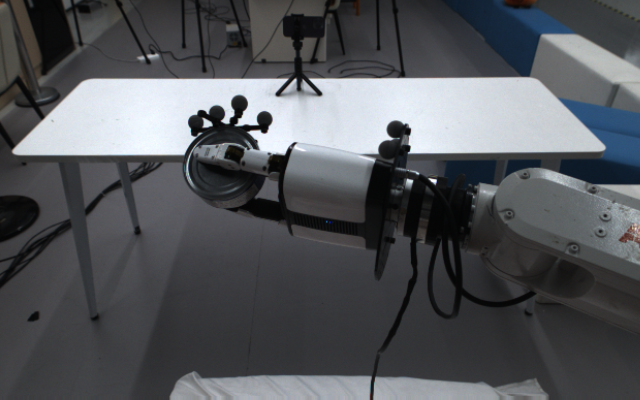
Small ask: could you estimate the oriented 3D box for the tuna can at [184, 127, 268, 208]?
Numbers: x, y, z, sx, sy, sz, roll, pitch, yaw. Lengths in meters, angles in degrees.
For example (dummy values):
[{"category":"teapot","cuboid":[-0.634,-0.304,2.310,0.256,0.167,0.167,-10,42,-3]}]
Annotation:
[{"category":"tuna can","cuboid":[-0.100,-0.030,0.524,0.085,0.034,0.085,-2,69,6]}]
